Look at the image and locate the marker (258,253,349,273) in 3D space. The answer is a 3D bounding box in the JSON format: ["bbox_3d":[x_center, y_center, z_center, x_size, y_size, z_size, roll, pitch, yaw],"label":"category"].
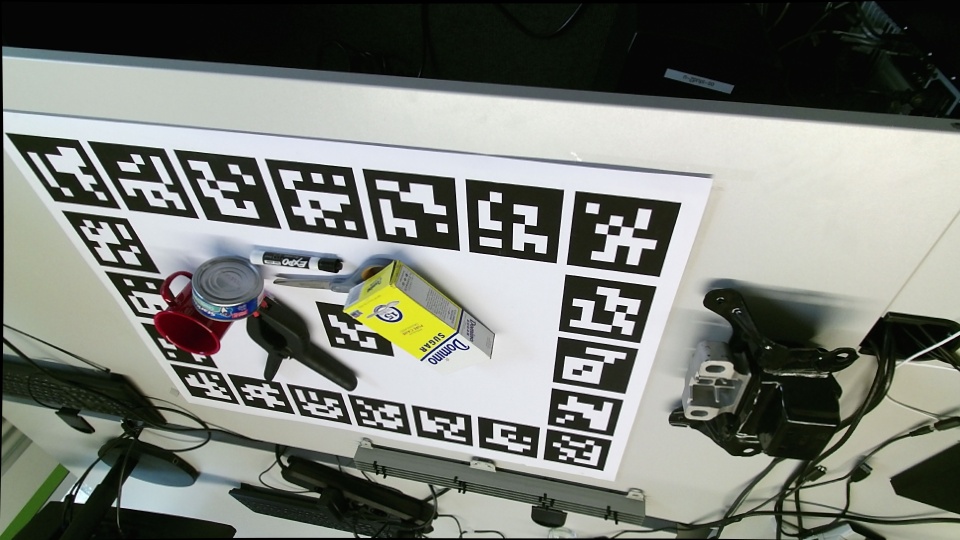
[{"bbox_3d":[-0.226,-0.009,0.688,0.121,0.019,0.019,4,130,12],"label":"marker"}]

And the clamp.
[{"bbox_3d":[-0.291,0.116,0.819,0.166,0.036,0.203,-1,129,17],"label":"clamp"}]

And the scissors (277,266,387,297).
[{"bbox_3d":[-0.181,0.029,0.706,0.203,0.016,0.088,0,134,18],"label":"scissors"}]

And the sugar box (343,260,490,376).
[{"bbox_3d":[-0.079,0.069,0.691,0.093,0.045,0.177,-25,126,33],"label":"sugar box"}]

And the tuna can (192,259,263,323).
[{"bbox_3d":[-0.332,0.026,0.704,0.086,0.085,0.034,20,133,-2],"label":"tuna can"}]

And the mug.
[{"bbox_3d":[-0.388,0.056,0.753,0.093,0.081,0.117,-15,128,27],"label":"mug"}]
